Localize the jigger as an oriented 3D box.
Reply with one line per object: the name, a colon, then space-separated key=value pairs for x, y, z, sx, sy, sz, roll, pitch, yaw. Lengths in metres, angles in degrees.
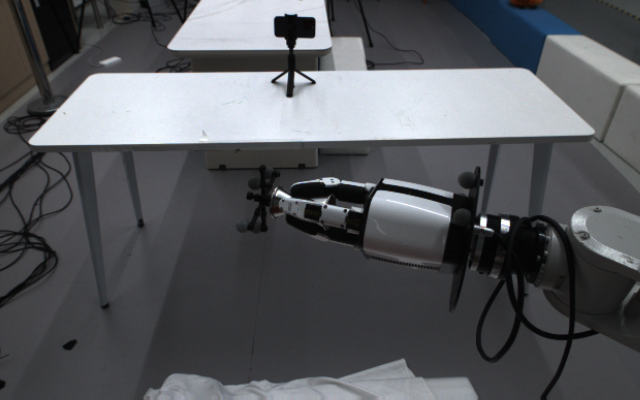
jigger: x=-0.014 y=0.005 z=0.569 sx=0.071 sy=0.043 sz=0.043 roll=10 pitch=35 yaw=16
